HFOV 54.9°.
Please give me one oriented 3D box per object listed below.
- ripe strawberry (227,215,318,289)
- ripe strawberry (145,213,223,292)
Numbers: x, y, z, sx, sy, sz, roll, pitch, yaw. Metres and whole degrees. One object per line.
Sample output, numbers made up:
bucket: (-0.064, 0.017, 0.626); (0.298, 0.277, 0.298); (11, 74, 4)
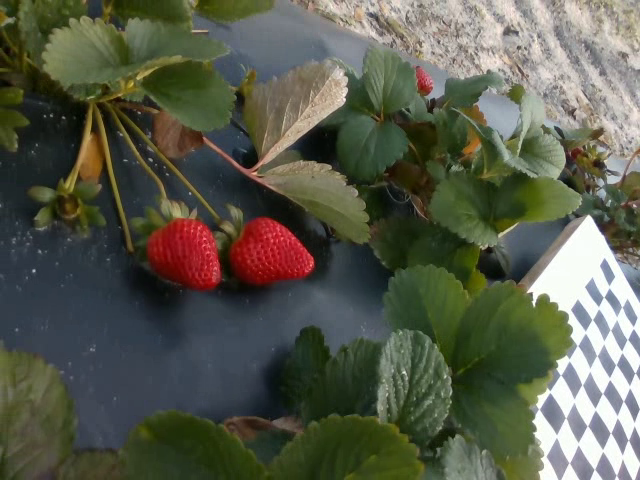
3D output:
ripe strawberry: (-0.031, 0.009, 0.419); (0.064, 0.051, 0.058); (22, 46, 8)
ripe strawberry: (-0.081, 0.012, 0.381); (0.048, 0.056, 0.041); (-12, -36, -44)
